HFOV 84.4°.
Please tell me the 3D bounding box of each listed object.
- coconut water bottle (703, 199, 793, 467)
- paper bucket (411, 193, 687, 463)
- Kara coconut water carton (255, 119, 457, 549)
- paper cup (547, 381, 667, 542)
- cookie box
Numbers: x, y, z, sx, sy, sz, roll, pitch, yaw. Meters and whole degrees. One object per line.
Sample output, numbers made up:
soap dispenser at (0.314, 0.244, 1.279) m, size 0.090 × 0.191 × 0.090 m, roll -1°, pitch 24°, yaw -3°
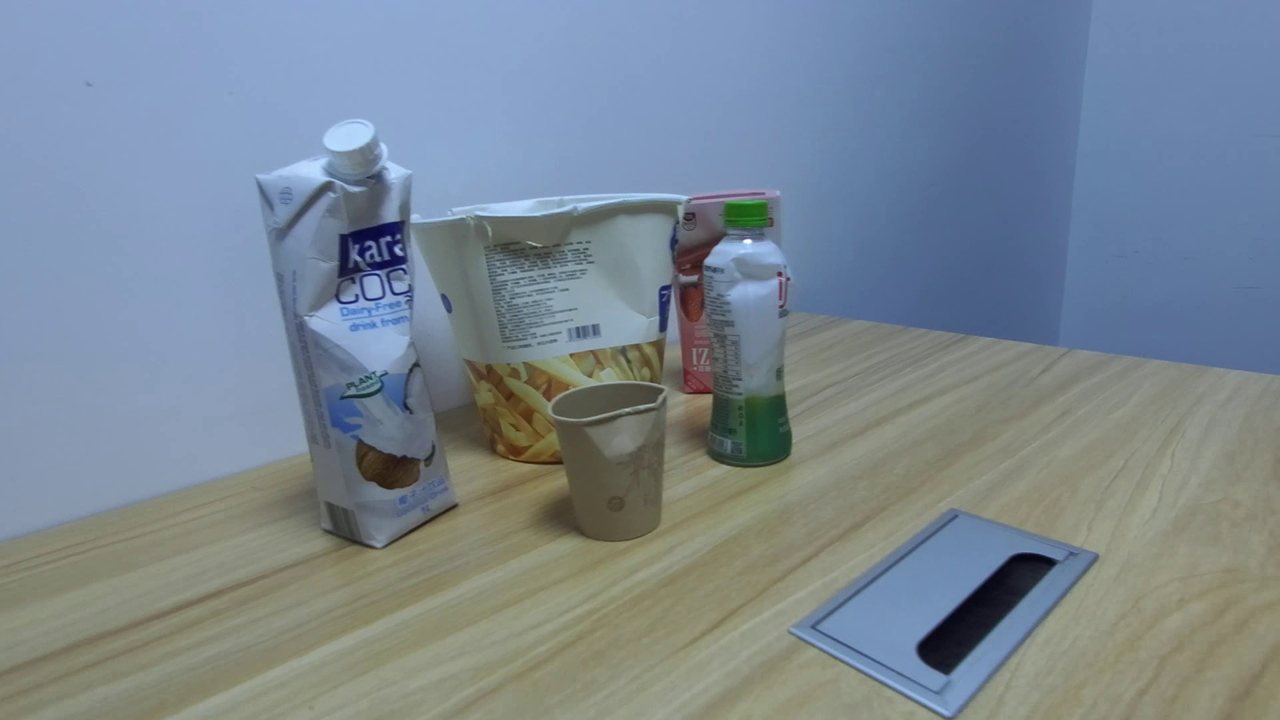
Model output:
coconut water bottle at (0.079, -0.019, 0.513) m, size 0.069 × 0.186 × 0.069 m, roll -2°, pitch 15°, yaw 1°
paper bucket at (-0.067, -0.032, 0.586) m, size 0.203 × 0.197 × 0.145 m, roll -13°, pitch 17°, yaw -26°
Kara coconut water carton at (-0.176, -0.014, 0.443) m, size 0.078 × 0.255 × 0.083 m, roll 14°, pitch 24°, yaw 43°
paper cup at (-0.017, 0.062, 0.439) m, size 0.068 × 0.081 × 0.073 m, roll -1°, pitch 15°, yaw 14°
cookie box at (0.084, -0.062, 0.672) m, size 0.105 × 0.187 × 0.049 m, roll 1°, pitch 18°, yaw 16°
